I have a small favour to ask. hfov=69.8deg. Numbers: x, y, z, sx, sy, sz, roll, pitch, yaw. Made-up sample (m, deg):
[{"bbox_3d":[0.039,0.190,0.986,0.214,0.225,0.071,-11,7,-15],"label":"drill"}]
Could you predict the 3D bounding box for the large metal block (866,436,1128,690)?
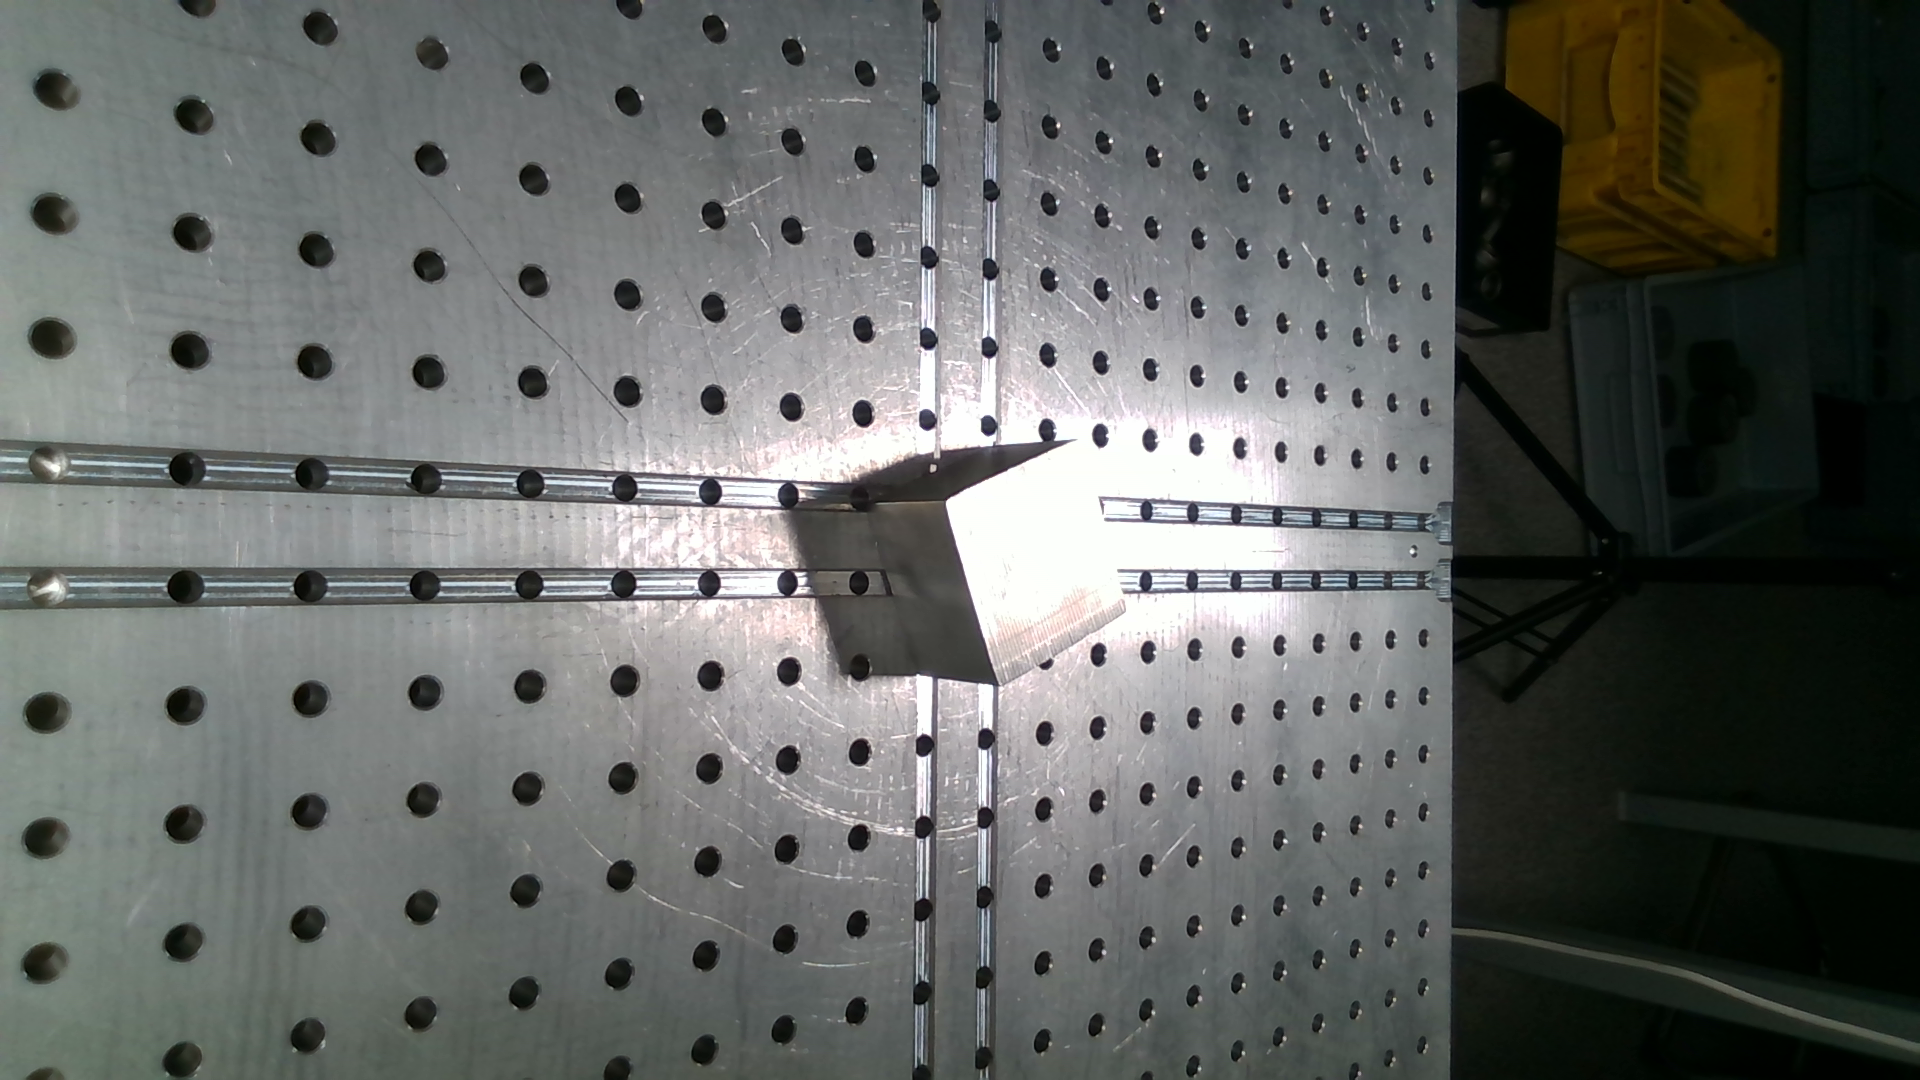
[{"bbox_3d":[0.017,0.008,0.581,0.080,0.050,0.080,-27,107,-37],"label":"large metal block"}]
